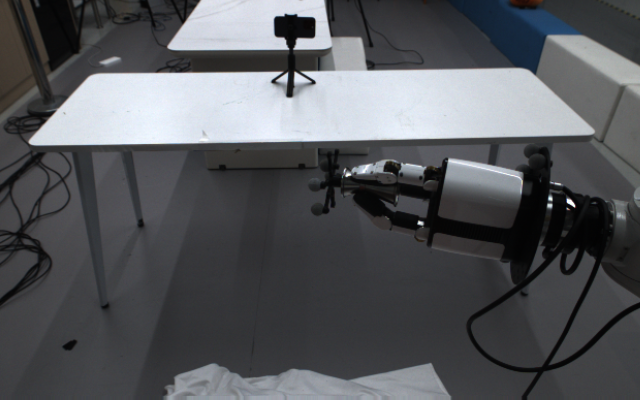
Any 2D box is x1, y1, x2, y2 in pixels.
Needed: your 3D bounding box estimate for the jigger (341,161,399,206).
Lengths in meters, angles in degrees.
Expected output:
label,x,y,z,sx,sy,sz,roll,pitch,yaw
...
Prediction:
label,x,y,z,sx,sy,sz,roll,pitch,yaw
jigger,0.070,-0.023,0.598,0.071,0.043,0.043,8,35,14
